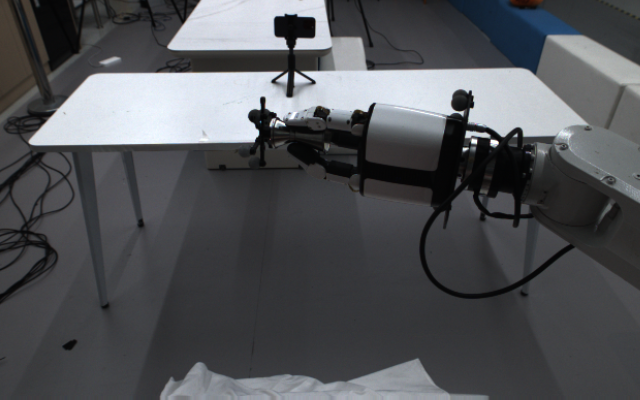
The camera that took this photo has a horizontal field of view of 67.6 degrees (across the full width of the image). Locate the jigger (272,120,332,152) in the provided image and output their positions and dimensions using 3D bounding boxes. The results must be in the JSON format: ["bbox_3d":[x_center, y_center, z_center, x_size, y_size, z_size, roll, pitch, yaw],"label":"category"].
[{"bbox_3d":[-0.017,-0.085,0.604,0.071,0.043,0.043,5,35,12],"label":"jigger"}]
